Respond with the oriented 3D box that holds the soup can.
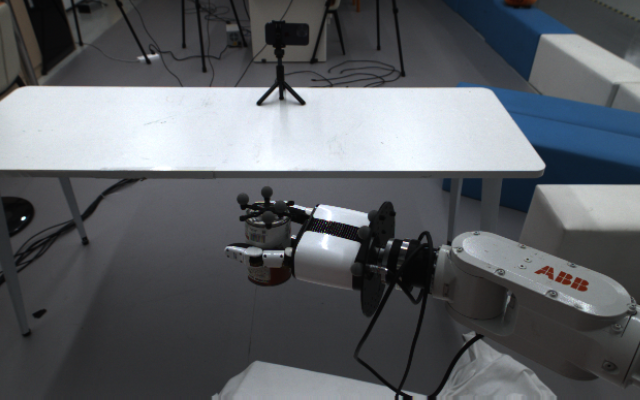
[{"bbox_3d":[-0.074,0.067,0.706,0.067,0.101,0.067,1,26,0],"label":"soup can"}]
